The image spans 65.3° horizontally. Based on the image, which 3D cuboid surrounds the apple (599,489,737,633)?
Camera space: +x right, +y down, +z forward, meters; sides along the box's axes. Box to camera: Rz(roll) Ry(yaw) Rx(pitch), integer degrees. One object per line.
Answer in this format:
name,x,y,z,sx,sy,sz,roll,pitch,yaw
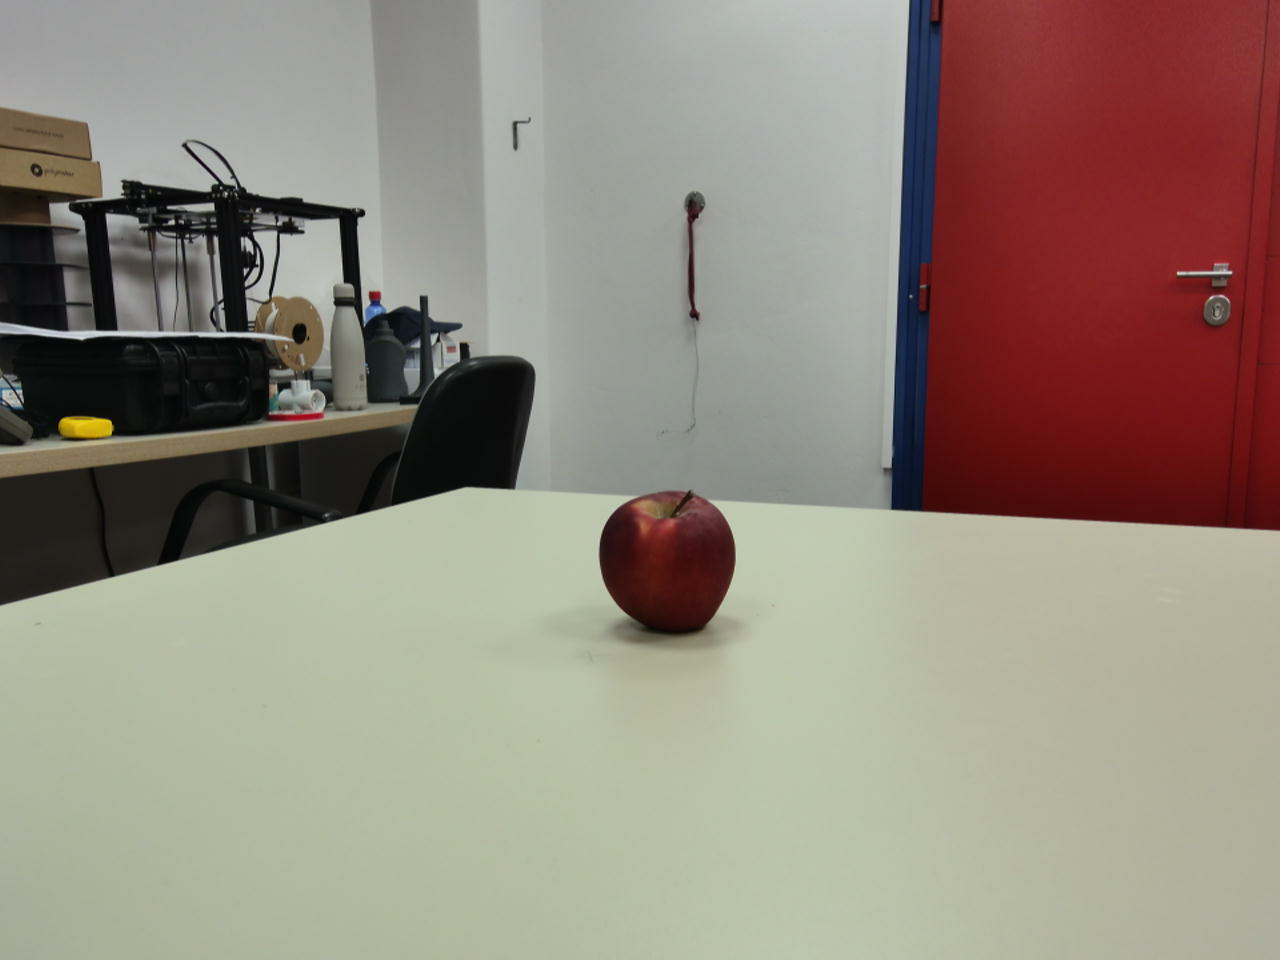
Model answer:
apple,0.015,0.040,0.509,0.070,0.072,0.070,0,6,0
